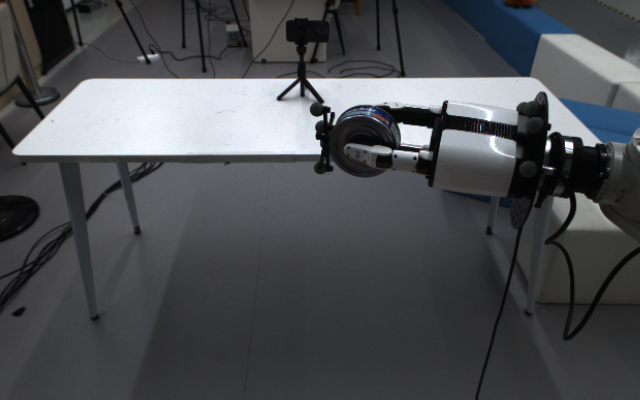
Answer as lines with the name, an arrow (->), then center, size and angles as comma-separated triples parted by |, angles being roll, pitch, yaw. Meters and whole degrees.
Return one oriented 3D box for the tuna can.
tuna can -> 0.057, -0.071, 0.596 | 0.085, 0.085, 0.034 | 9, 32, 11
